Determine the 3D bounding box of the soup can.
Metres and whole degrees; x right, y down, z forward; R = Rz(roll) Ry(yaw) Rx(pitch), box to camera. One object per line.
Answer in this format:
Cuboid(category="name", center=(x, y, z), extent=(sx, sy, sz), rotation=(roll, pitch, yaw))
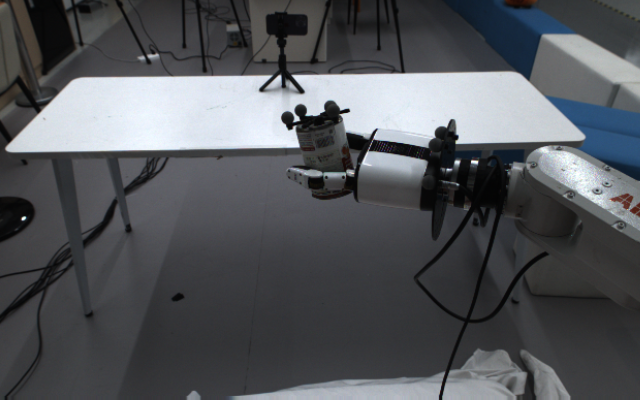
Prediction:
Cuboid(category="soup can", center=(0.011, -0.060, 0.670), extent=(0.067, 0.101, 0.067), rotation=(-13, 20, 5))
